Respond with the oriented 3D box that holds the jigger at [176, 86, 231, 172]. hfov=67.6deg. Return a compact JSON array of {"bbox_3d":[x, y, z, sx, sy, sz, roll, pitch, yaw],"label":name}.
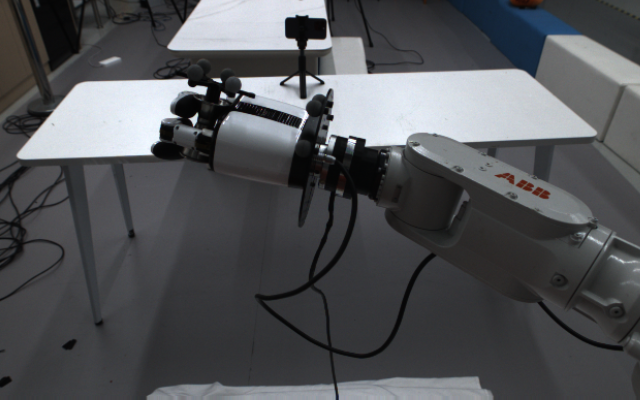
[{"bbox_3d":[-0.132,-0.080,0.549,0.043,0.071,0.043,18,17,-6],"label":"jigger"}]
